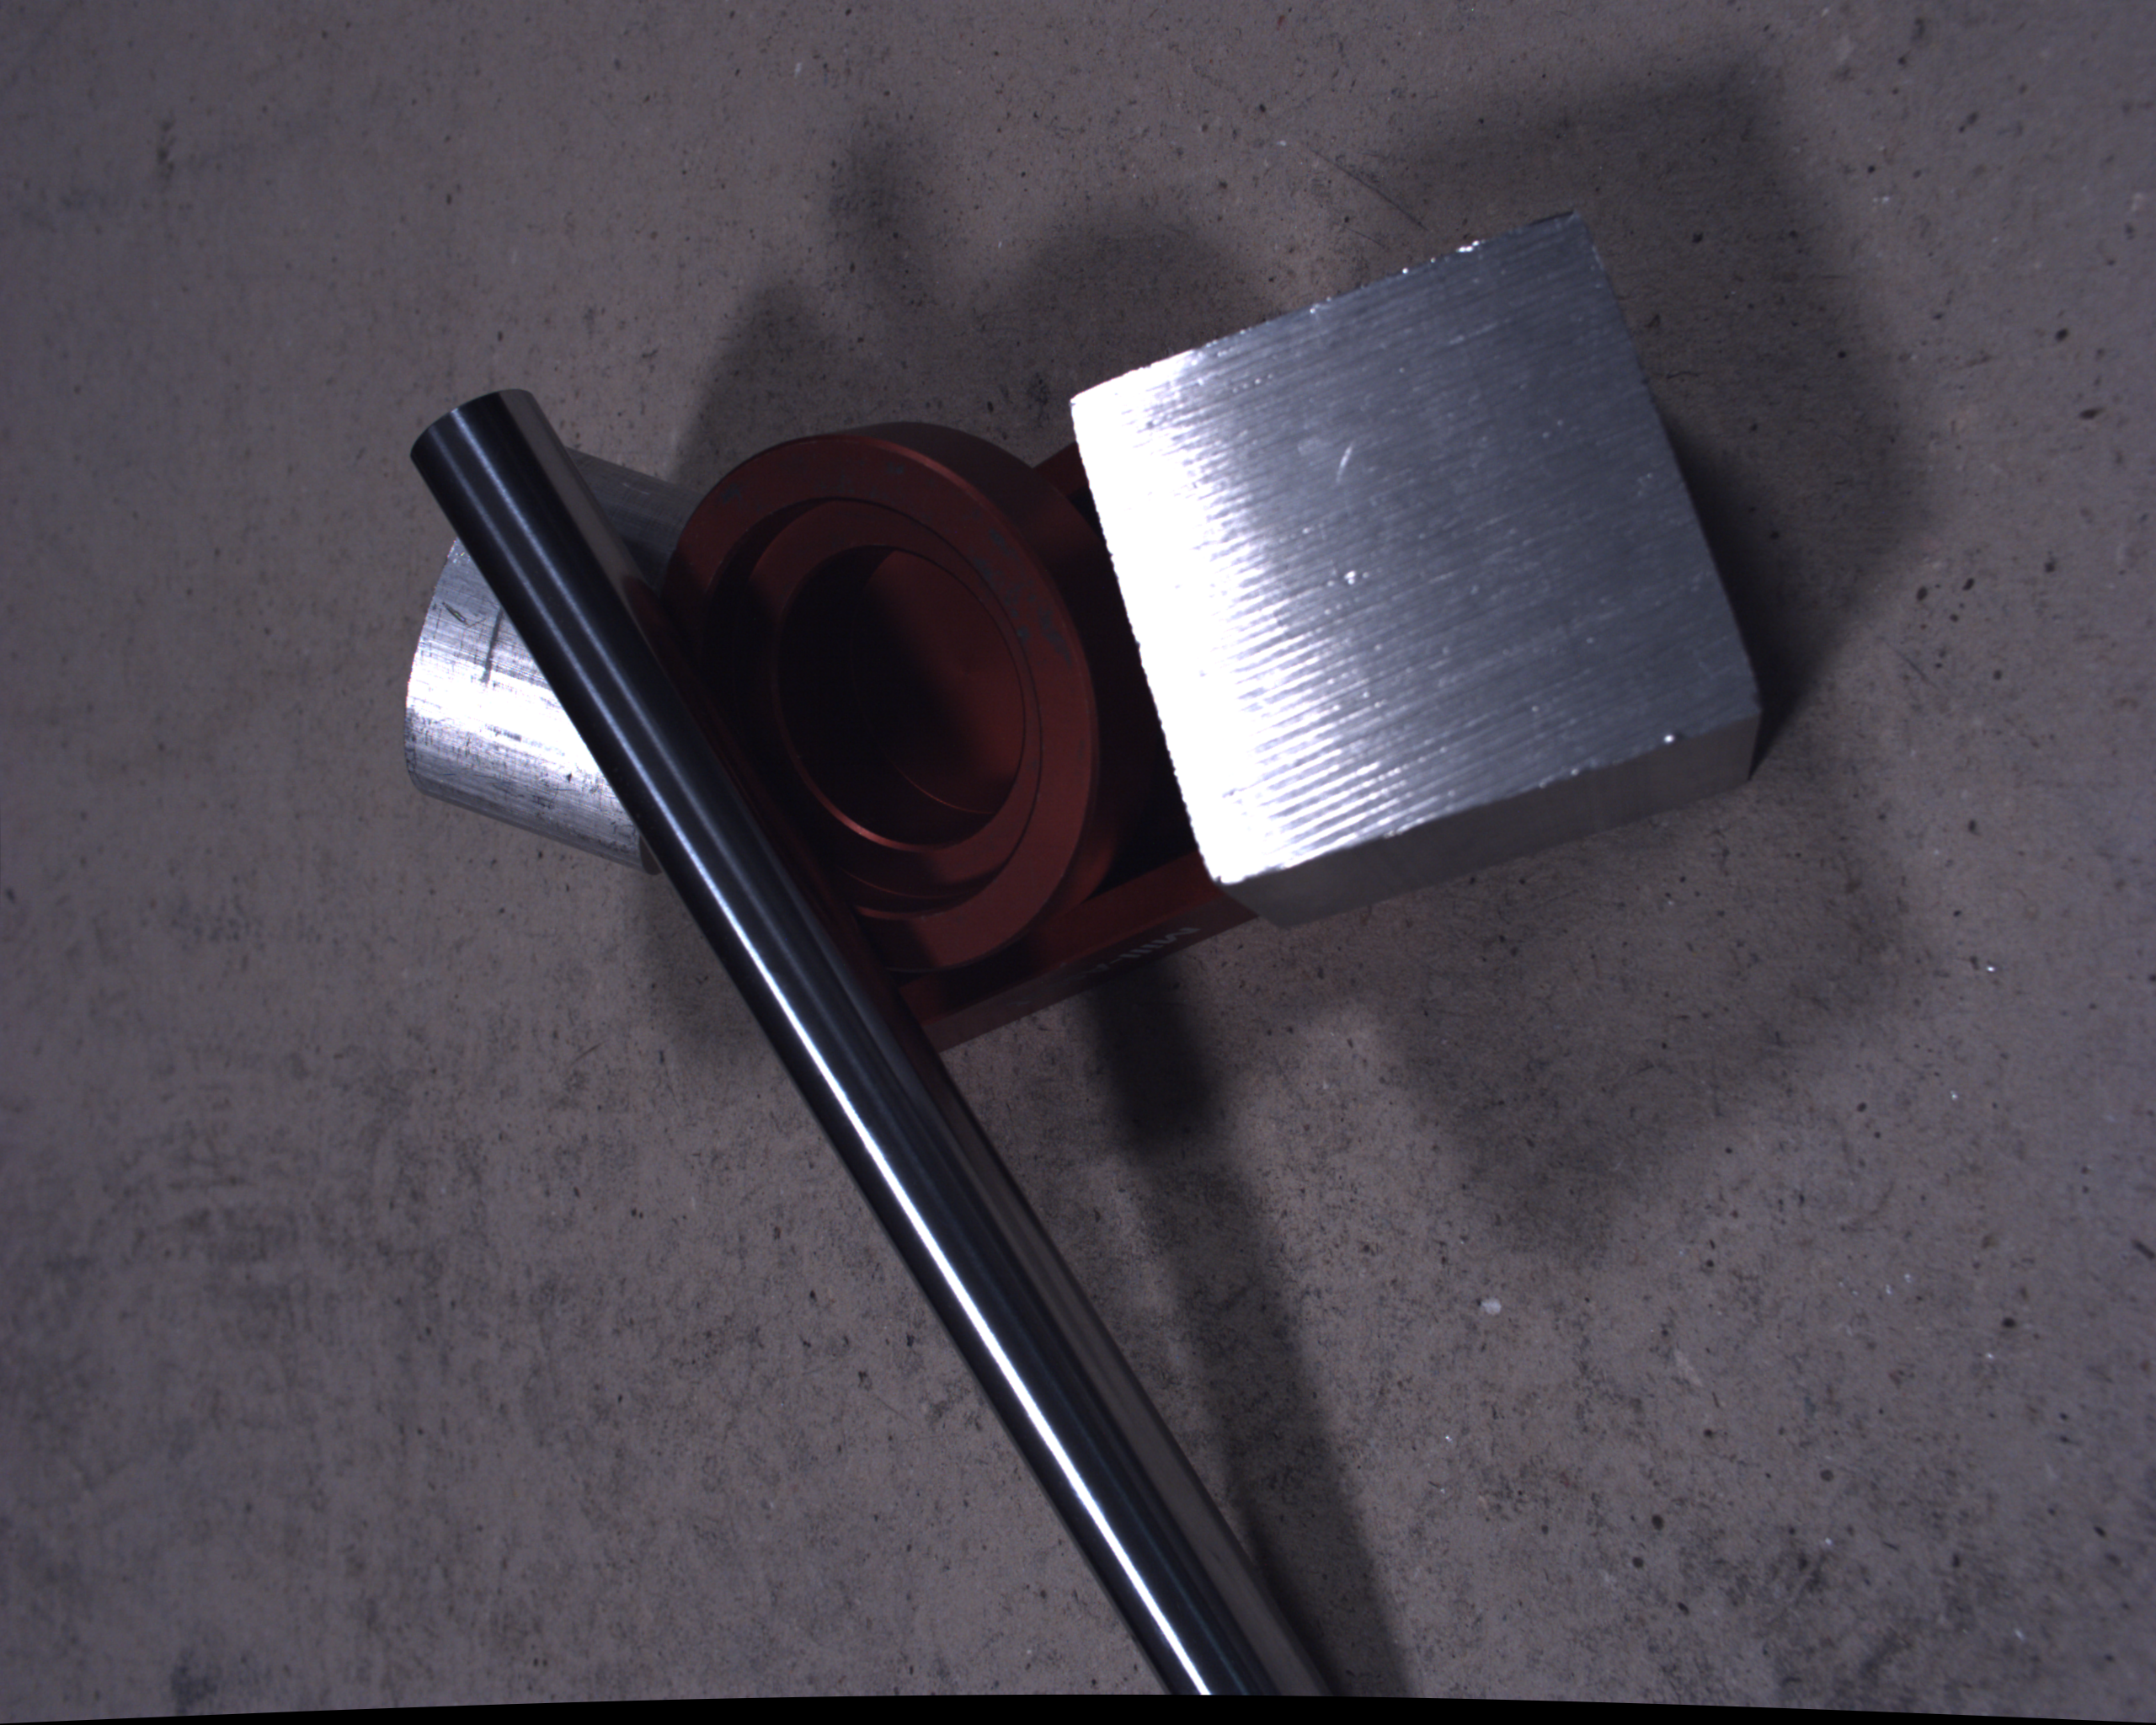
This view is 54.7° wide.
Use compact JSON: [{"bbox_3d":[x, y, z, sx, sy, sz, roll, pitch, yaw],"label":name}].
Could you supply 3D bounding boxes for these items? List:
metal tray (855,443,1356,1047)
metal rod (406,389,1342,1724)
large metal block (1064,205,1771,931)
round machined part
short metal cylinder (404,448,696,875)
[{"bbox_3d":[-0.009,-0.022,0.408,0.130,0.030,0.090,-26,74,36],"label":"metal tray"},{"bbox_3d":[-0.033,0.048,0.375,0.025,0.025,0.299,-34,87,35],"label":"metal rod"},{"bbox_3d":[0.052,-0.042,0.324,0.080,0.050,0.080,-18,77,11],"label":"large metal block"},{"bbox_3d":[-0.028,-0.033,0.385,0.098,0.042,0.097,12,112,32],"label":"round machined part"},{"bbox_3d":[-0.100,-0.043,0.442,0.050,0.080,0.079,19,105,1],"label":"short metal cylinder"}]
